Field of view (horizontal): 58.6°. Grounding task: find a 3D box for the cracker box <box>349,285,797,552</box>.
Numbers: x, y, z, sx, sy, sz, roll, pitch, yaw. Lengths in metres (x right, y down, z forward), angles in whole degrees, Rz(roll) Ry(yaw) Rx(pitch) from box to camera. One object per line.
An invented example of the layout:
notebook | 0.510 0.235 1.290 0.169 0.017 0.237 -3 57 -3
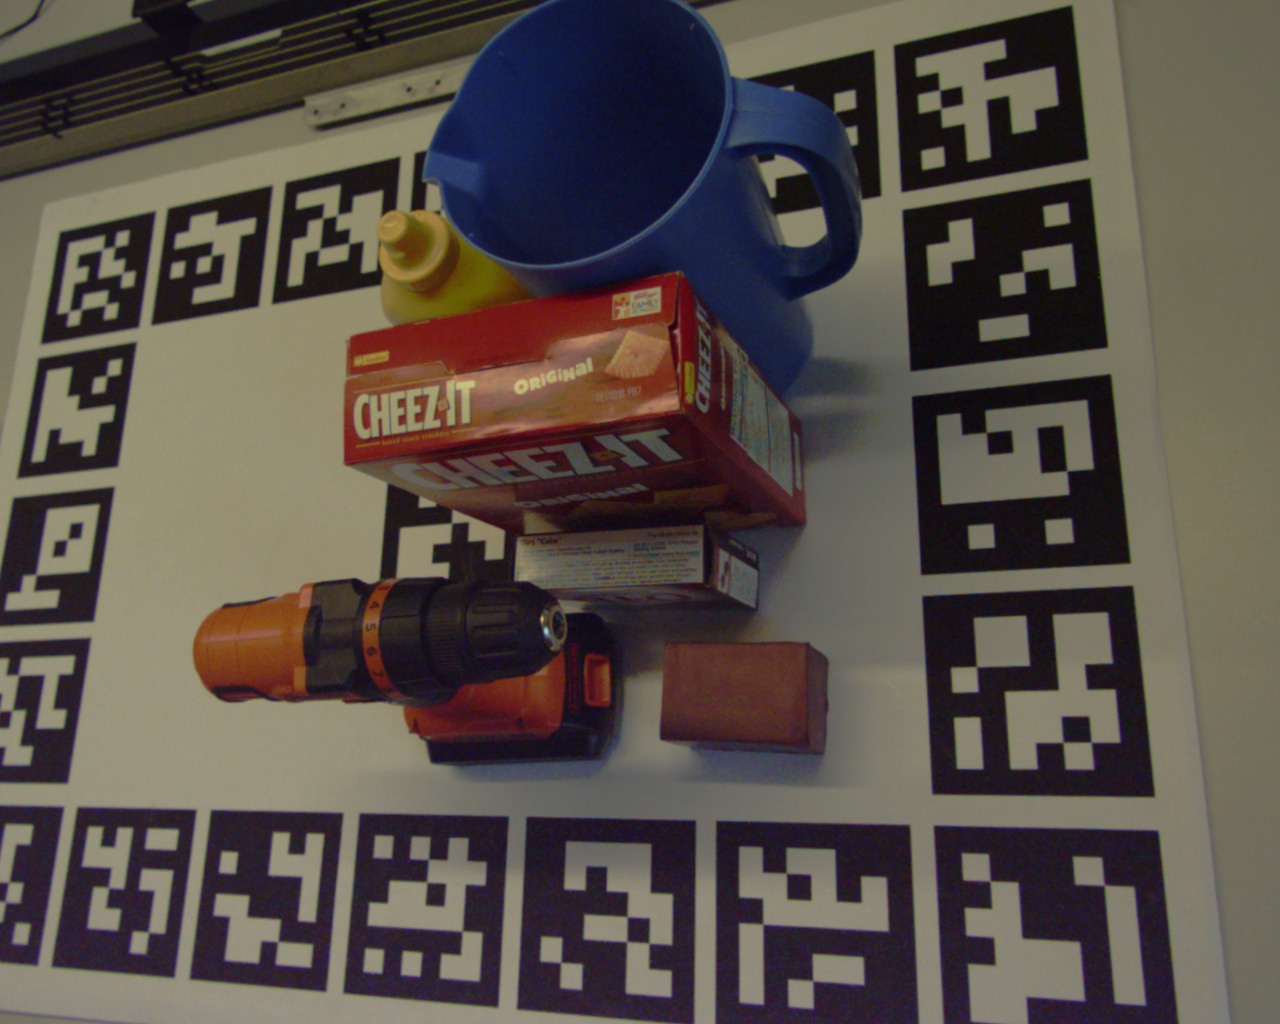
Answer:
cracker box | -0.024 -0.029 0.603 0.166 0.211 0.072 -8 72 22

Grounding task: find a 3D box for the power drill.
power drill | -0.095 0.080 0.586 0.186 0.185 0.057 -6 71 20

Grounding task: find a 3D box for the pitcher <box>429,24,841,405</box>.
pitcher | 0.019 -0.133 0.607 0.191 0.240 0.133 1 77 24

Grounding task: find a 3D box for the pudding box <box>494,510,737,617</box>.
pudding box | -0.012 0.031 0.641 0.115 0.089 0.039 -5 73 24

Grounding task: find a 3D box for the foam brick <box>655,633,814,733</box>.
foam brick | 0.053 0.096 0.633 0.079 0.051 0.053 -3 77 21

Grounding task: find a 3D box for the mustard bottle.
mustard bottle | -0.102 -0.119 0.665 0.097 0.189 0.058 9 81 24
